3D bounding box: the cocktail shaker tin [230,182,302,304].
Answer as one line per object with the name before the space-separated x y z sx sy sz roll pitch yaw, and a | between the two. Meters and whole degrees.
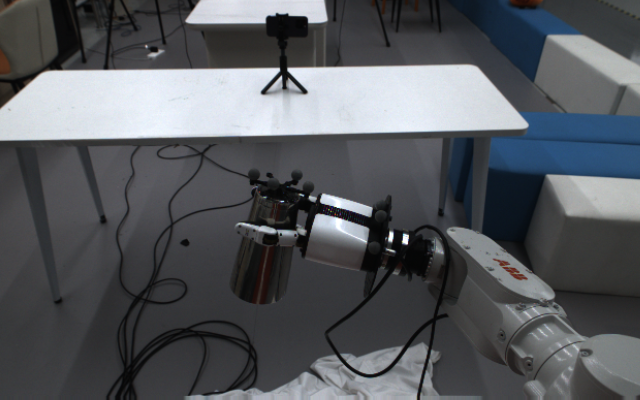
cocktail shaker tin | -0.077 0.061 0.741 0.093 0.170 0.093 12 25 -6
